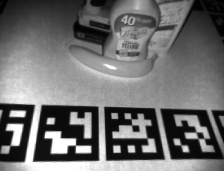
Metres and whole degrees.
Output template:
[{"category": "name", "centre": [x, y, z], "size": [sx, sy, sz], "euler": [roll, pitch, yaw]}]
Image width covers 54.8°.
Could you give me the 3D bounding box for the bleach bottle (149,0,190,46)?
[{"category": "bleach bottle", "centre": [0.116, -0.197, 0.447], "size": [0.103, 0.251, 0.067], "euler": [4, 51, -7]}]

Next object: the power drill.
[{"category": "power drill", "centre": [0.006, -0.211, 0.438], "size": [0.185, 0.187, 0.057], "euler": [13, 55, -4]}]

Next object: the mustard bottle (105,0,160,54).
[{"category": "mustard bottle", "centre": [0.045, -0.138, 0.424], "size": [0.096, 0.191, 0.058], "euler": [3, 57, -9]}]

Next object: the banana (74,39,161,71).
[{"category": "banana", "centre": [0.014, -0.068, 0.477], "size": [0.198, 0.039, 0.074], "euler": [6, 58, -5]}]
